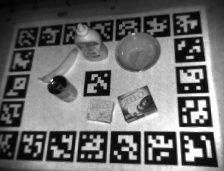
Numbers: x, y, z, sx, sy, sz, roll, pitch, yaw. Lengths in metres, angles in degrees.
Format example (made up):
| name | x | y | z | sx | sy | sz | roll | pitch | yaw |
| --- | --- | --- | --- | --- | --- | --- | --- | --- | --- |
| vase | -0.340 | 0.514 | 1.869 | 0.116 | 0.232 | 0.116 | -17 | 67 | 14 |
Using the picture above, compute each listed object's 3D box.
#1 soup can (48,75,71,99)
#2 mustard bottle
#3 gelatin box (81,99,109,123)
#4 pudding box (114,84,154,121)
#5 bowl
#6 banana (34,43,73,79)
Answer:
| name | x | y | z | sx | sy | sz | roll | pitch | yaw |
| --- | --- | --- | --- | --- | --- | --- | --- | --- | --- |
| soup can | -0.194 | 0.001 | 0.769 | 0.067 | 0.103 | 0.067 | -4 | 68 | 10 |
| mustard bottle | -0.094 | -0.162 | 0.755 | 0.095 | 0.193 | 0.058 | -2 | 67 | 13 |
| gelatin box | -0.060 | 0.089 | 0.756 | 0.089 | 0.030 | 0.073 | 5 | 75 | 15 |
| pudding box | 0.073 | 0.057 | 0.734 | 0.114 | 0.039 | 0.089 | -24 | 72 | 3 |
| bowl | 0.090 | -0.122 | 0.790 | 0.161 | 0.056 | 0.161 | -5 | 69 | 12 |
| banana | -0.219 | -0.089 | 0.852 | 0.197 | 0.039 | 0.073 | -46 | 57 | -6 |
